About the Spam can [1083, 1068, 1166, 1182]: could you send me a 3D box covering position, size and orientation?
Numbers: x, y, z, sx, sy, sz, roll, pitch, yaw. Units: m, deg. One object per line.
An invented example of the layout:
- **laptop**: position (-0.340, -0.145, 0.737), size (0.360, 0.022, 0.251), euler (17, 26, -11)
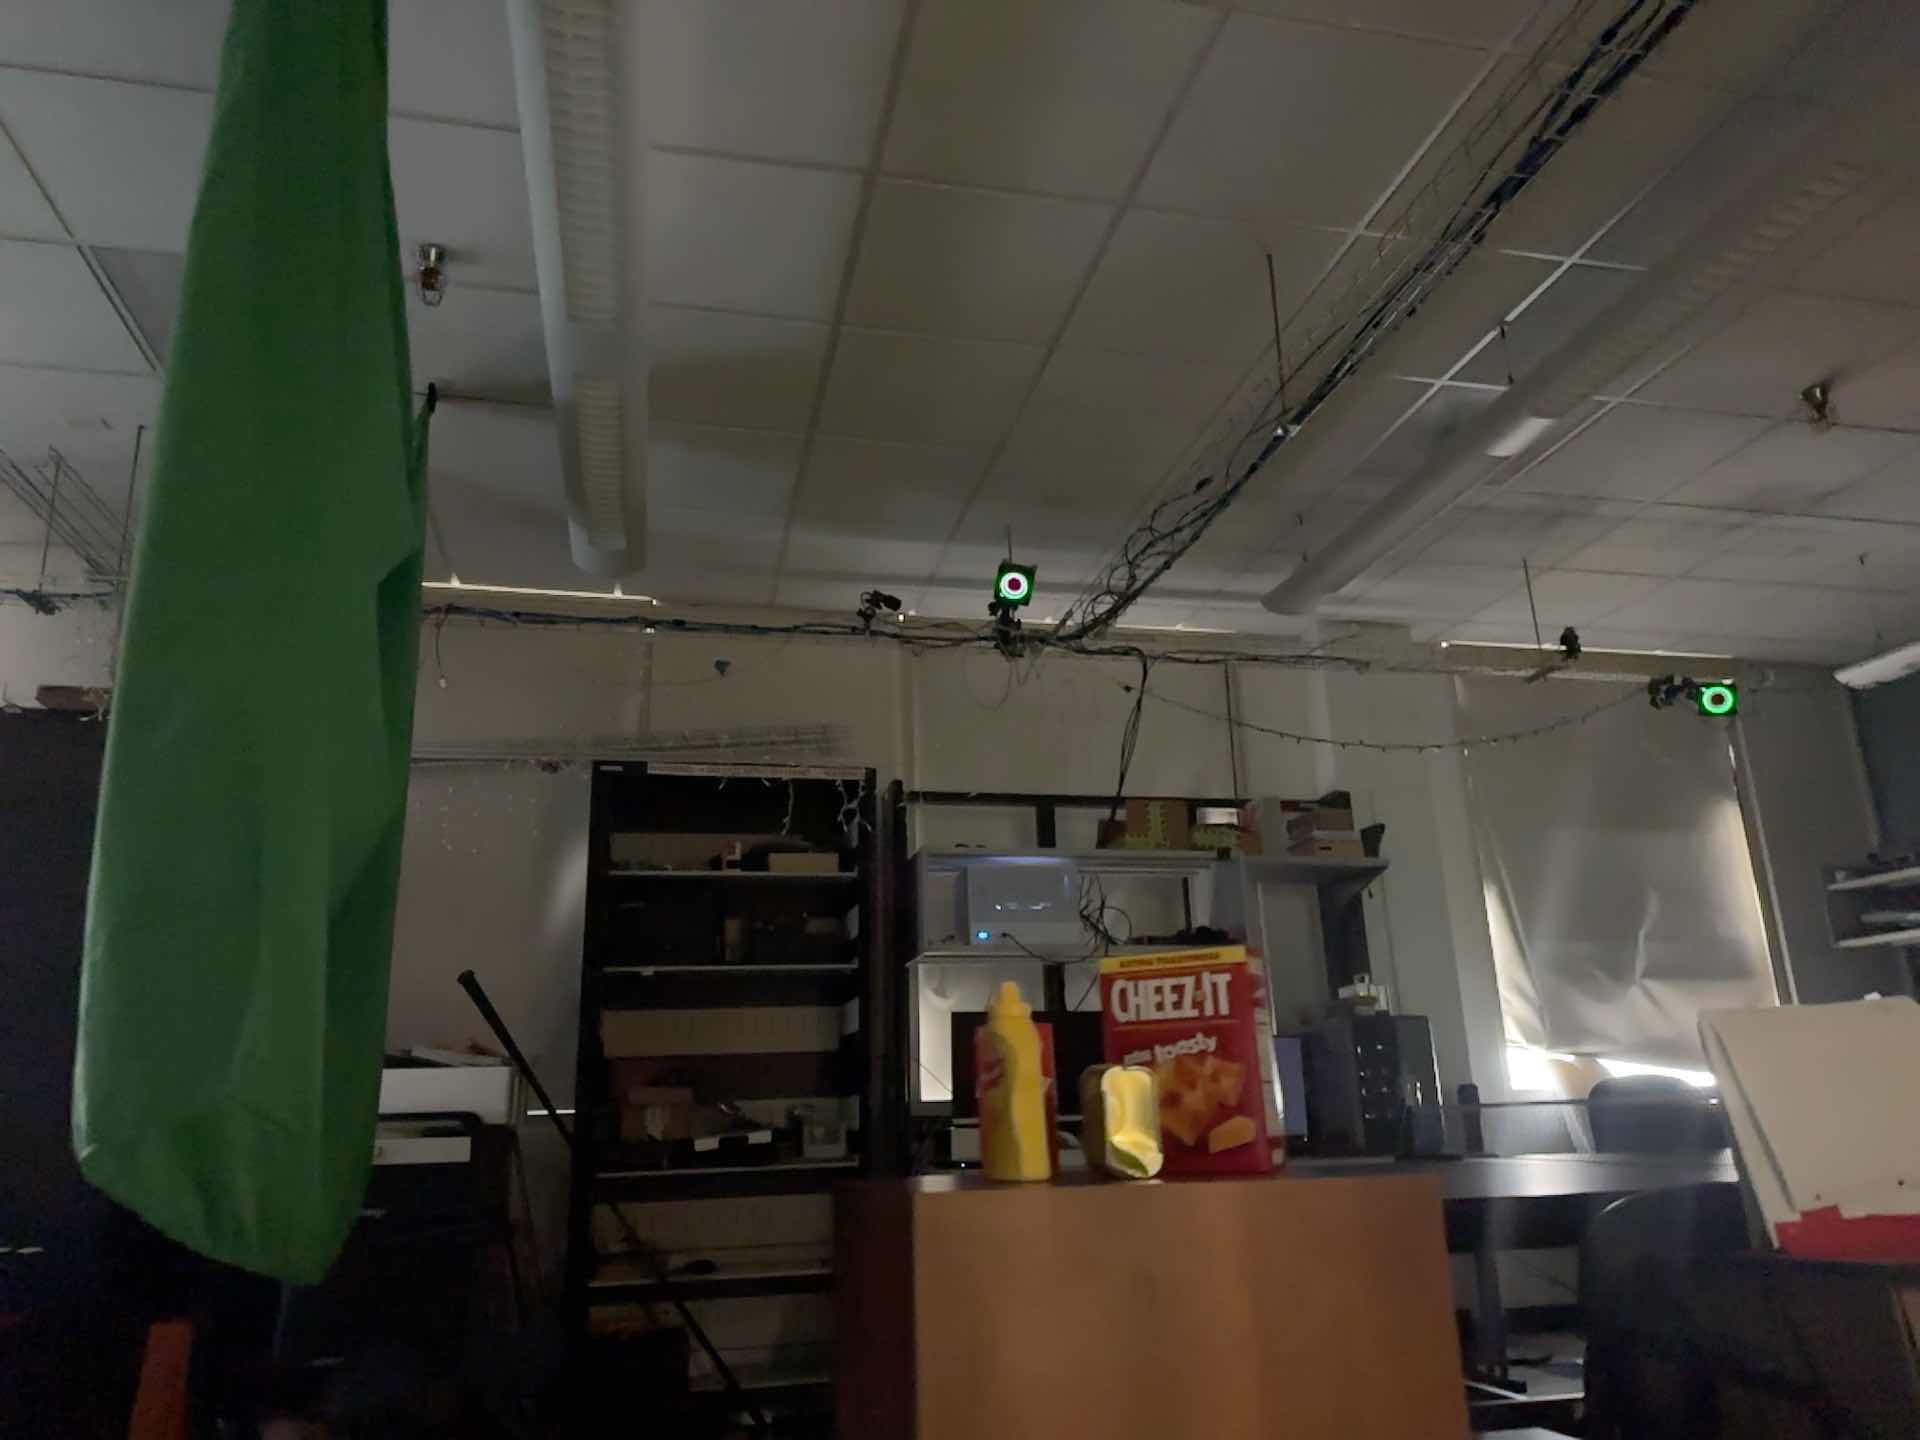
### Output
- **Spam can**: position (0.154, 0.378, 1.259), size (0.056, 0.100, 0.083), euler (0, -16, -7)

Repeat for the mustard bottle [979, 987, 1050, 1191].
- **mustard bottle**: position (0.047, 0.344, 1.264), size (0.054, 0.184, 0.092), euler (1, -17, -14)

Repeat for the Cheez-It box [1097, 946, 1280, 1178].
- **Cheez-It box**: position (0.231, 0.348, 1.370), size (0.159, 0.214, 0.062), euler (-6, -16, 17)

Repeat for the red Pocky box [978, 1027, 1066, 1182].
- **red Pocky box**: position (0.062, 0.396, 1.387), size (0.083, 0.155, 0.028), euler (-2, -17, 0)
